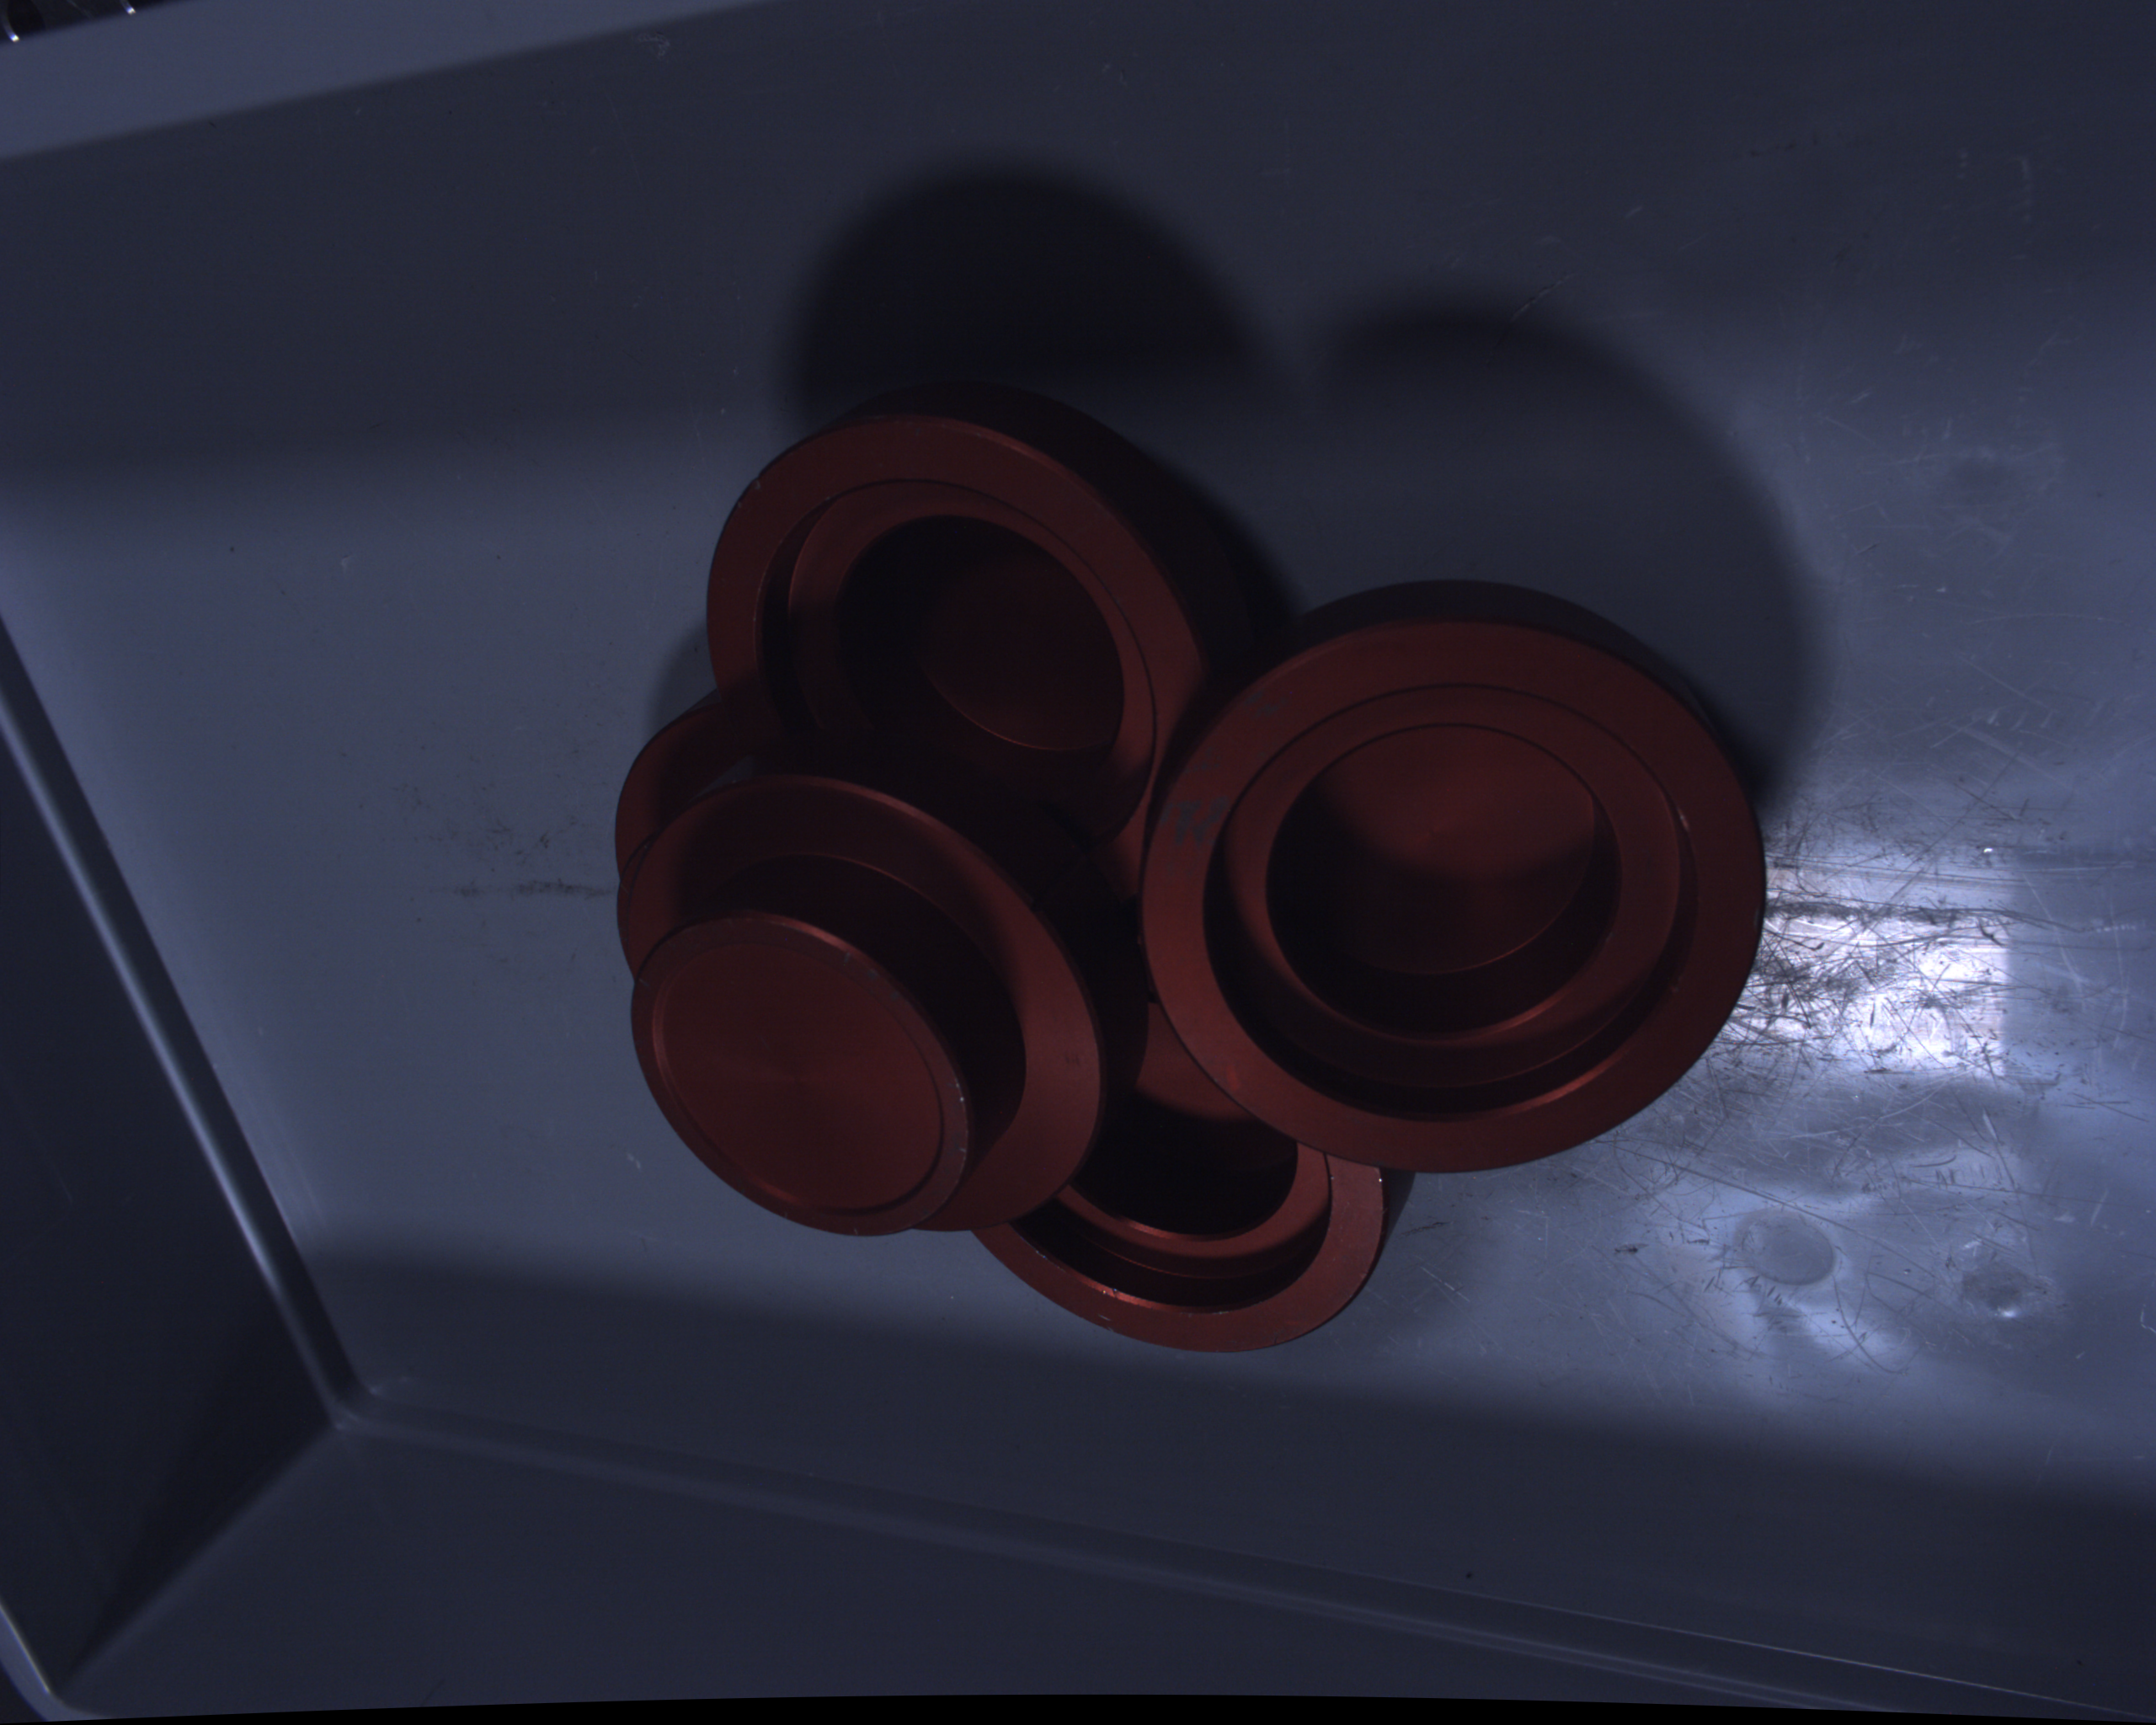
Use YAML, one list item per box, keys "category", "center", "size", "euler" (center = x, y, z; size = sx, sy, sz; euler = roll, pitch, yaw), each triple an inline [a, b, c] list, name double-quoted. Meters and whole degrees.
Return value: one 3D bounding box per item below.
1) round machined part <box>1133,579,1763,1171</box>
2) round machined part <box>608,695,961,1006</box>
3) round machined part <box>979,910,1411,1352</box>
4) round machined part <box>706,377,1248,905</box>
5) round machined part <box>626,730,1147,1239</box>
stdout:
- category: "round machined part"
  center: [0.060, -0.001, 0.349]
  size: [0.099, 0.042, 0.097]
  euler: [2, 114, 4]
- category: "round machined part"
  center: [-0.056, 0.012, 0.428]
  size: [0.098, 0.042, 0.097]
  euler: [13, 124, 20]
- category: "round machined part"
  center: [0.019, 0.045, 0.412]
  size: [0.098, 0.042, 0.097]
  euler: [13, 124, 20]
- category: "round machined part"
  center: [-0.014, -0.040, 0.377]
  size: [0.098, 0.042, 0.097]
  euler: [13, 124, 20]
- category: "round machined part"
  center: [-0.041, 0.029, 0.377]
  size: [0.098, 0.042, 0.097]
  euler: [13, 124, 20]
